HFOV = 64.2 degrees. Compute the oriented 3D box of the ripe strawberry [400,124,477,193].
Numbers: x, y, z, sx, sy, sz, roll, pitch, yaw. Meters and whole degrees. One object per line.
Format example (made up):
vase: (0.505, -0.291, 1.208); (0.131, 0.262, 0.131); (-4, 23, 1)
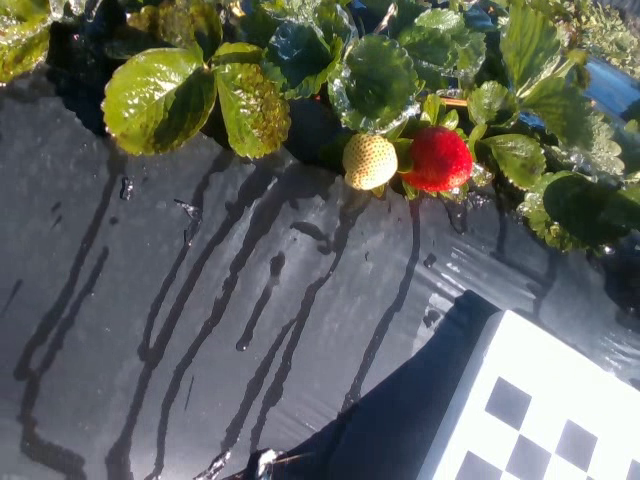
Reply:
ripe strawberry: (0.072, -0.041, 0.306); (0.042, 0.046, 0.061); (20, 28, -6)
